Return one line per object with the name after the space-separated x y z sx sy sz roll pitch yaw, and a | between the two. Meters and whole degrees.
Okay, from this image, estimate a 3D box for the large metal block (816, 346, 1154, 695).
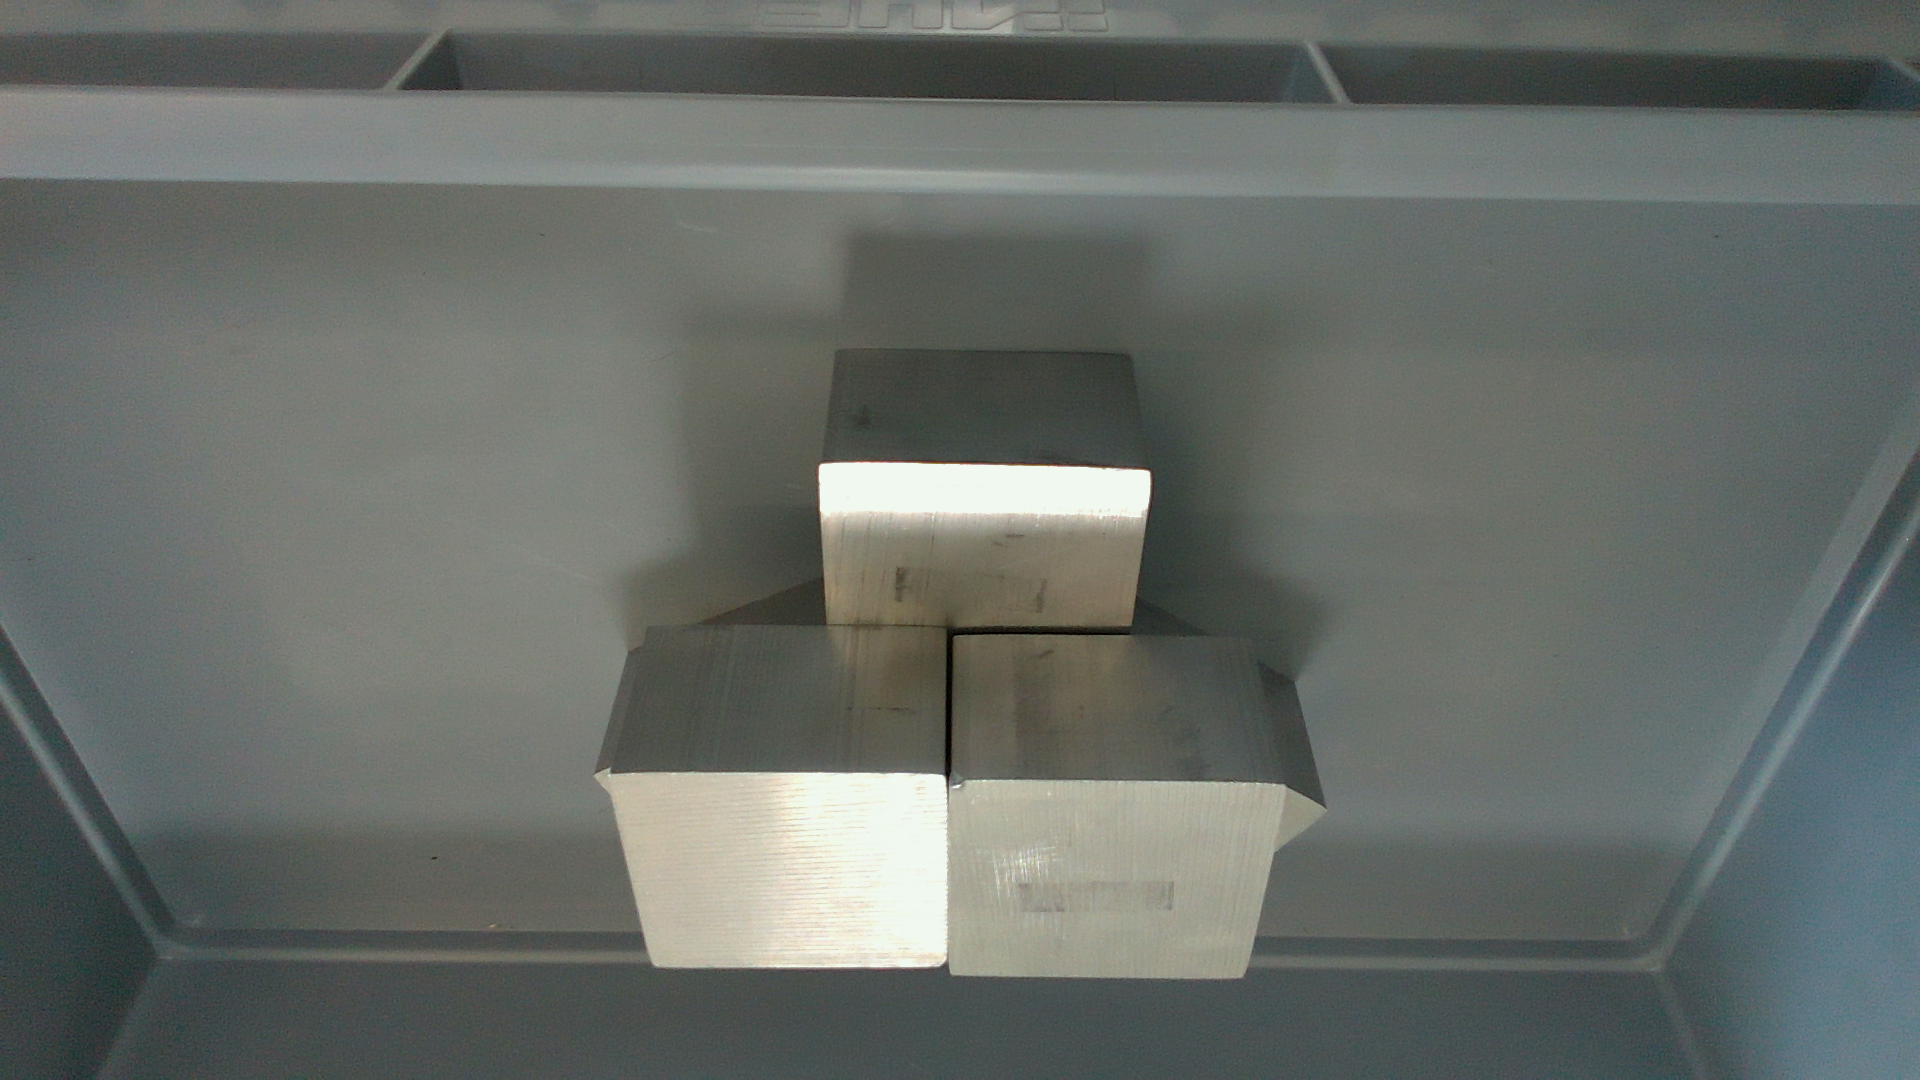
0.005 -0.004 0.370 0.080 0.050 0.080 1 130 -1 | large metal block

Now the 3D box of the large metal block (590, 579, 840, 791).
-0.053 0.066 0.428 0.080 0.050 0.080 -21 127 16 | large metal block

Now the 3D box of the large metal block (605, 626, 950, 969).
-0.043 0.069 0.365 0.080 0.050 0.080 0 130 -1 | large metal block

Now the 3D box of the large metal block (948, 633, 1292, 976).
0.037 0.071 0.366 0.080 0.050 0.080 0 130 -1 | large metal block

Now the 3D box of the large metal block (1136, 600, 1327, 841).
0.053 0.070 0.431 0.080 0.050 0.080 28 125 -21 | large metal block
